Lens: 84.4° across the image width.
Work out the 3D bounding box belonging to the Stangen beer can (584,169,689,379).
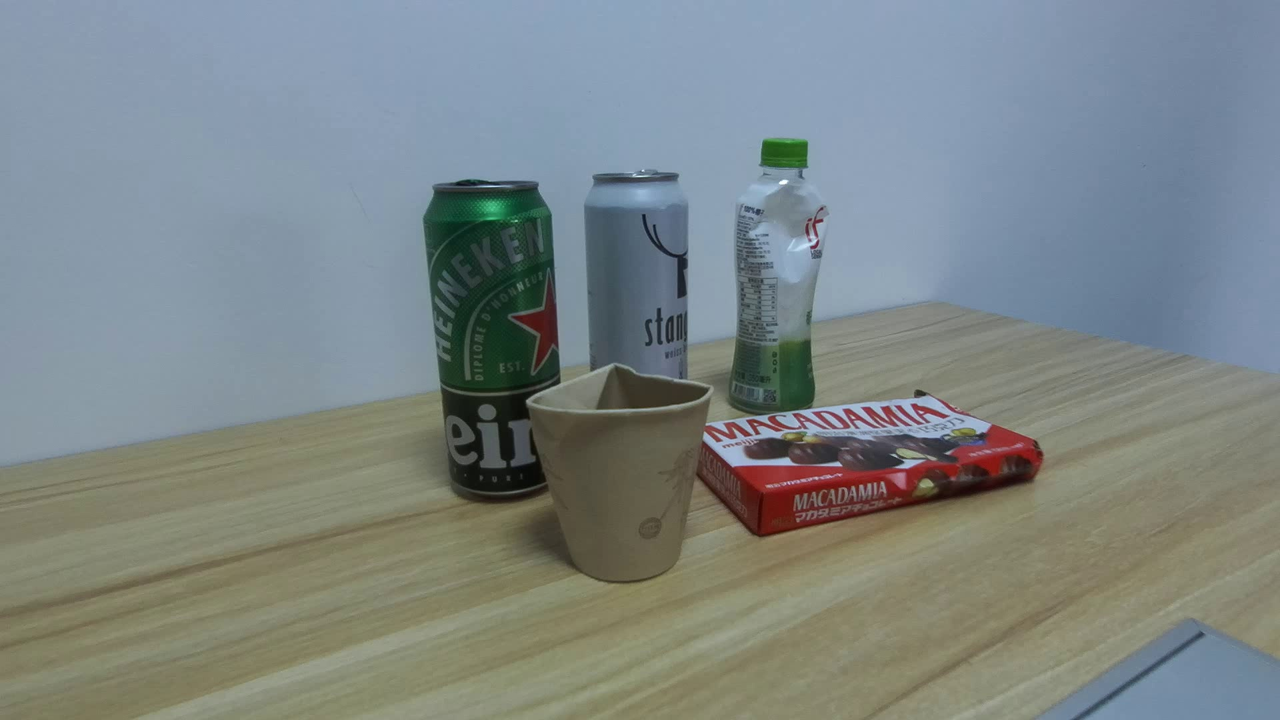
[{"bbox_3d":[-0.001,-0.036,0.466,0.067,0.171,0.067,0,15,0],"label":"Stangen beer can"}]

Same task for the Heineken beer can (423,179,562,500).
[{"bbox_3d":[-0.078,-0.010,0.390,0.067,0.169,0.067,-1,16,1],"label":"Heineken beer can"}]

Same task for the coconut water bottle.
[{"bbox_3d":[0.097,-0.058,0.495,0.069,0.187,0.069,1,16,0],"label":"coconut water bottle"}]

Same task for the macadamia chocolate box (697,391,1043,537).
[{"bbox_3d":[0.128,0.054,0.411,0.183,0.028,0.105,-6,18,-20],"label":"macadamia chocolate box"}]

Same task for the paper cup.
[{"bbox_3d":[-0.008,0.053,0.325,0.071,0.084,0.066,11,20,37],"label":"paper cup"}]
